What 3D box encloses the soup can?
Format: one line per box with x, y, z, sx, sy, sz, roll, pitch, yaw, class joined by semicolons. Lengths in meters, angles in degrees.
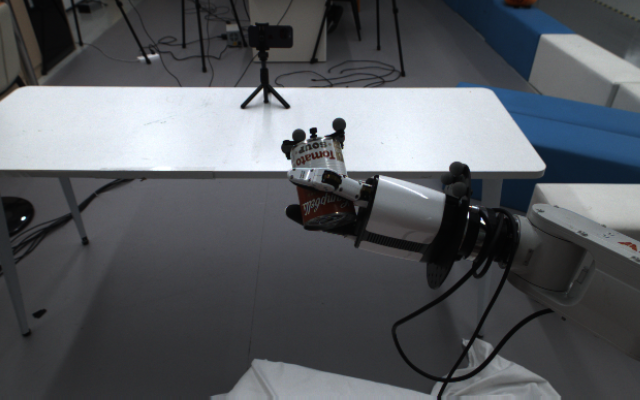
0.004;-0.021;0.607;0.067;0.067;0.101;-8;74;-14;soup can
